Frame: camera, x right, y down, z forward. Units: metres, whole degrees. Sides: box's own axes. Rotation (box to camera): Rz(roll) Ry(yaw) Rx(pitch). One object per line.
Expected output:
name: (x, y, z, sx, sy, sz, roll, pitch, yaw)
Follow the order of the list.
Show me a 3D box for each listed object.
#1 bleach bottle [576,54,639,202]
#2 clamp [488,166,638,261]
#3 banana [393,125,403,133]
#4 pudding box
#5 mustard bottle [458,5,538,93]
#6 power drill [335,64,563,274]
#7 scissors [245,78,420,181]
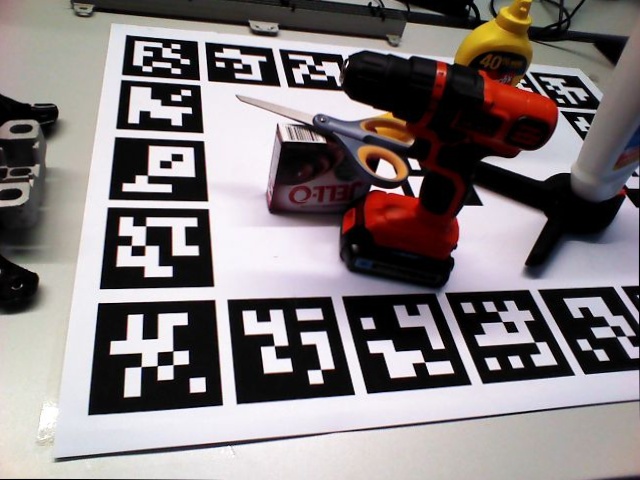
bleach bottle: (0.362, -0.130, 0.577, 0.102, 0.252, 0.068, -20, 54, -21)
clamp: (0.309, -0.051, 0.636, 0.202, 0.037, 0.165, -5, 54, -21)
banana: (0.103, -0.176, 0.698, 0.074, 0.039, 0.196, 26, 46, 31)
pudding box: (0.005, -0.073, 0.555, 0.114, 0.090, 0.038, 4, 43, -13)
mustard bottle: (0.223, -0.207, 0.669, 0.096, 0.192, 0.058, 11, 48, -7)
power drill: (0.092, -0.058, 0.462, 0.185, 0.188, 0.057, 8, 42, -5)
scissors: (0.008, -0.120, 0.509, 0.203, 0.016, 0.087, 22, 52, -3)
